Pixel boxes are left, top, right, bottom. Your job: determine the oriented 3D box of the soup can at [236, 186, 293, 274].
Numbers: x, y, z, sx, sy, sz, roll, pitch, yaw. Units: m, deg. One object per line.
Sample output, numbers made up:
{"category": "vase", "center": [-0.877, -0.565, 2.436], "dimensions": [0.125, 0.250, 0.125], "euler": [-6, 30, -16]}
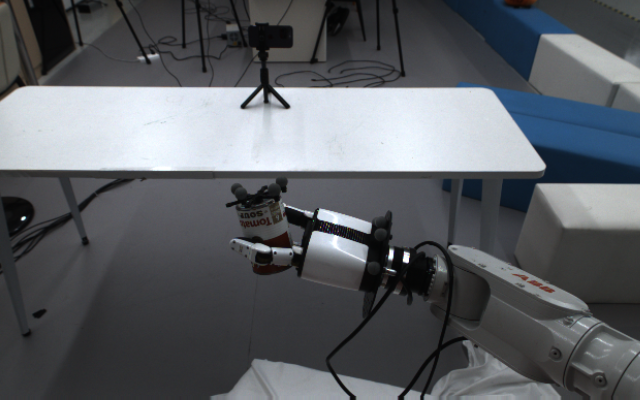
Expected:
{"category": "soup can", "center": [-0.074, 0.046, 0.691], "dimensions": [0.067, 0.101, 0.067], "euler": [-12, 17, 4]}
